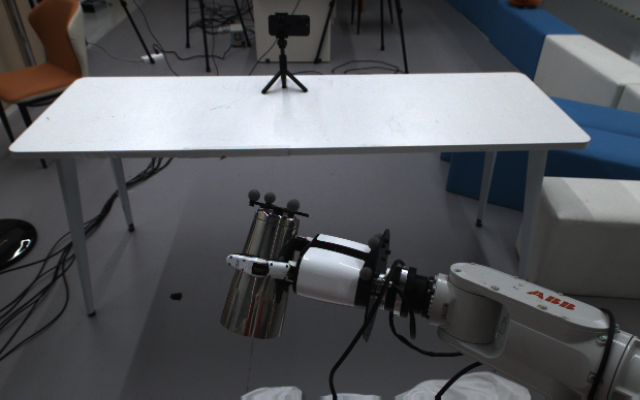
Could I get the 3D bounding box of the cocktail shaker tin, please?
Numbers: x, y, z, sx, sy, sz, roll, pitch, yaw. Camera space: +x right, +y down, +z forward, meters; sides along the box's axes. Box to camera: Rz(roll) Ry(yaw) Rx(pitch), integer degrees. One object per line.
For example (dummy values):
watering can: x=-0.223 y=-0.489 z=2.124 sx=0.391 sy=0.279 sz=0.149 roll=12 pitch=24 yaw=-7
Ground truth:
cocktail shaker tin: x=-0.081 y=0.103 z=0.705 sx=0.093 sy=0.170 sz=0.093 roll=13 pitch=2 yaw=0
